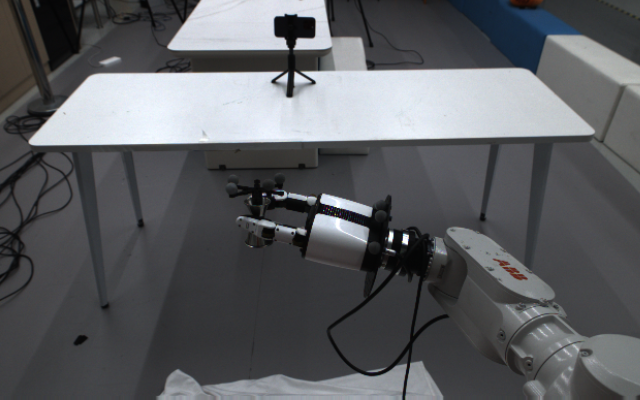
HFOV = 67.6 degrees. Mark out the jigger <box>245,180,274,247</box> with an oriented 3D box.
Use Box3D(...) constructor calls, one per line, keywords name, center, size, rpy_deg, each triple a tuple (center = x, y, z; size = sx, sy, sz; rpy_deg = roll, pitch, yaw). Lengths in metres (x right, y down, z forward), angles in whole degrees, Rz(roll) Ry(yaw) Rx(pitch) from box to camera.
Box3D(name="jigger", center=(-0.094, 0.033, 0.732), size=(0.043, 0.071, 0.043), rpy_deg=(0, 21, 0))
